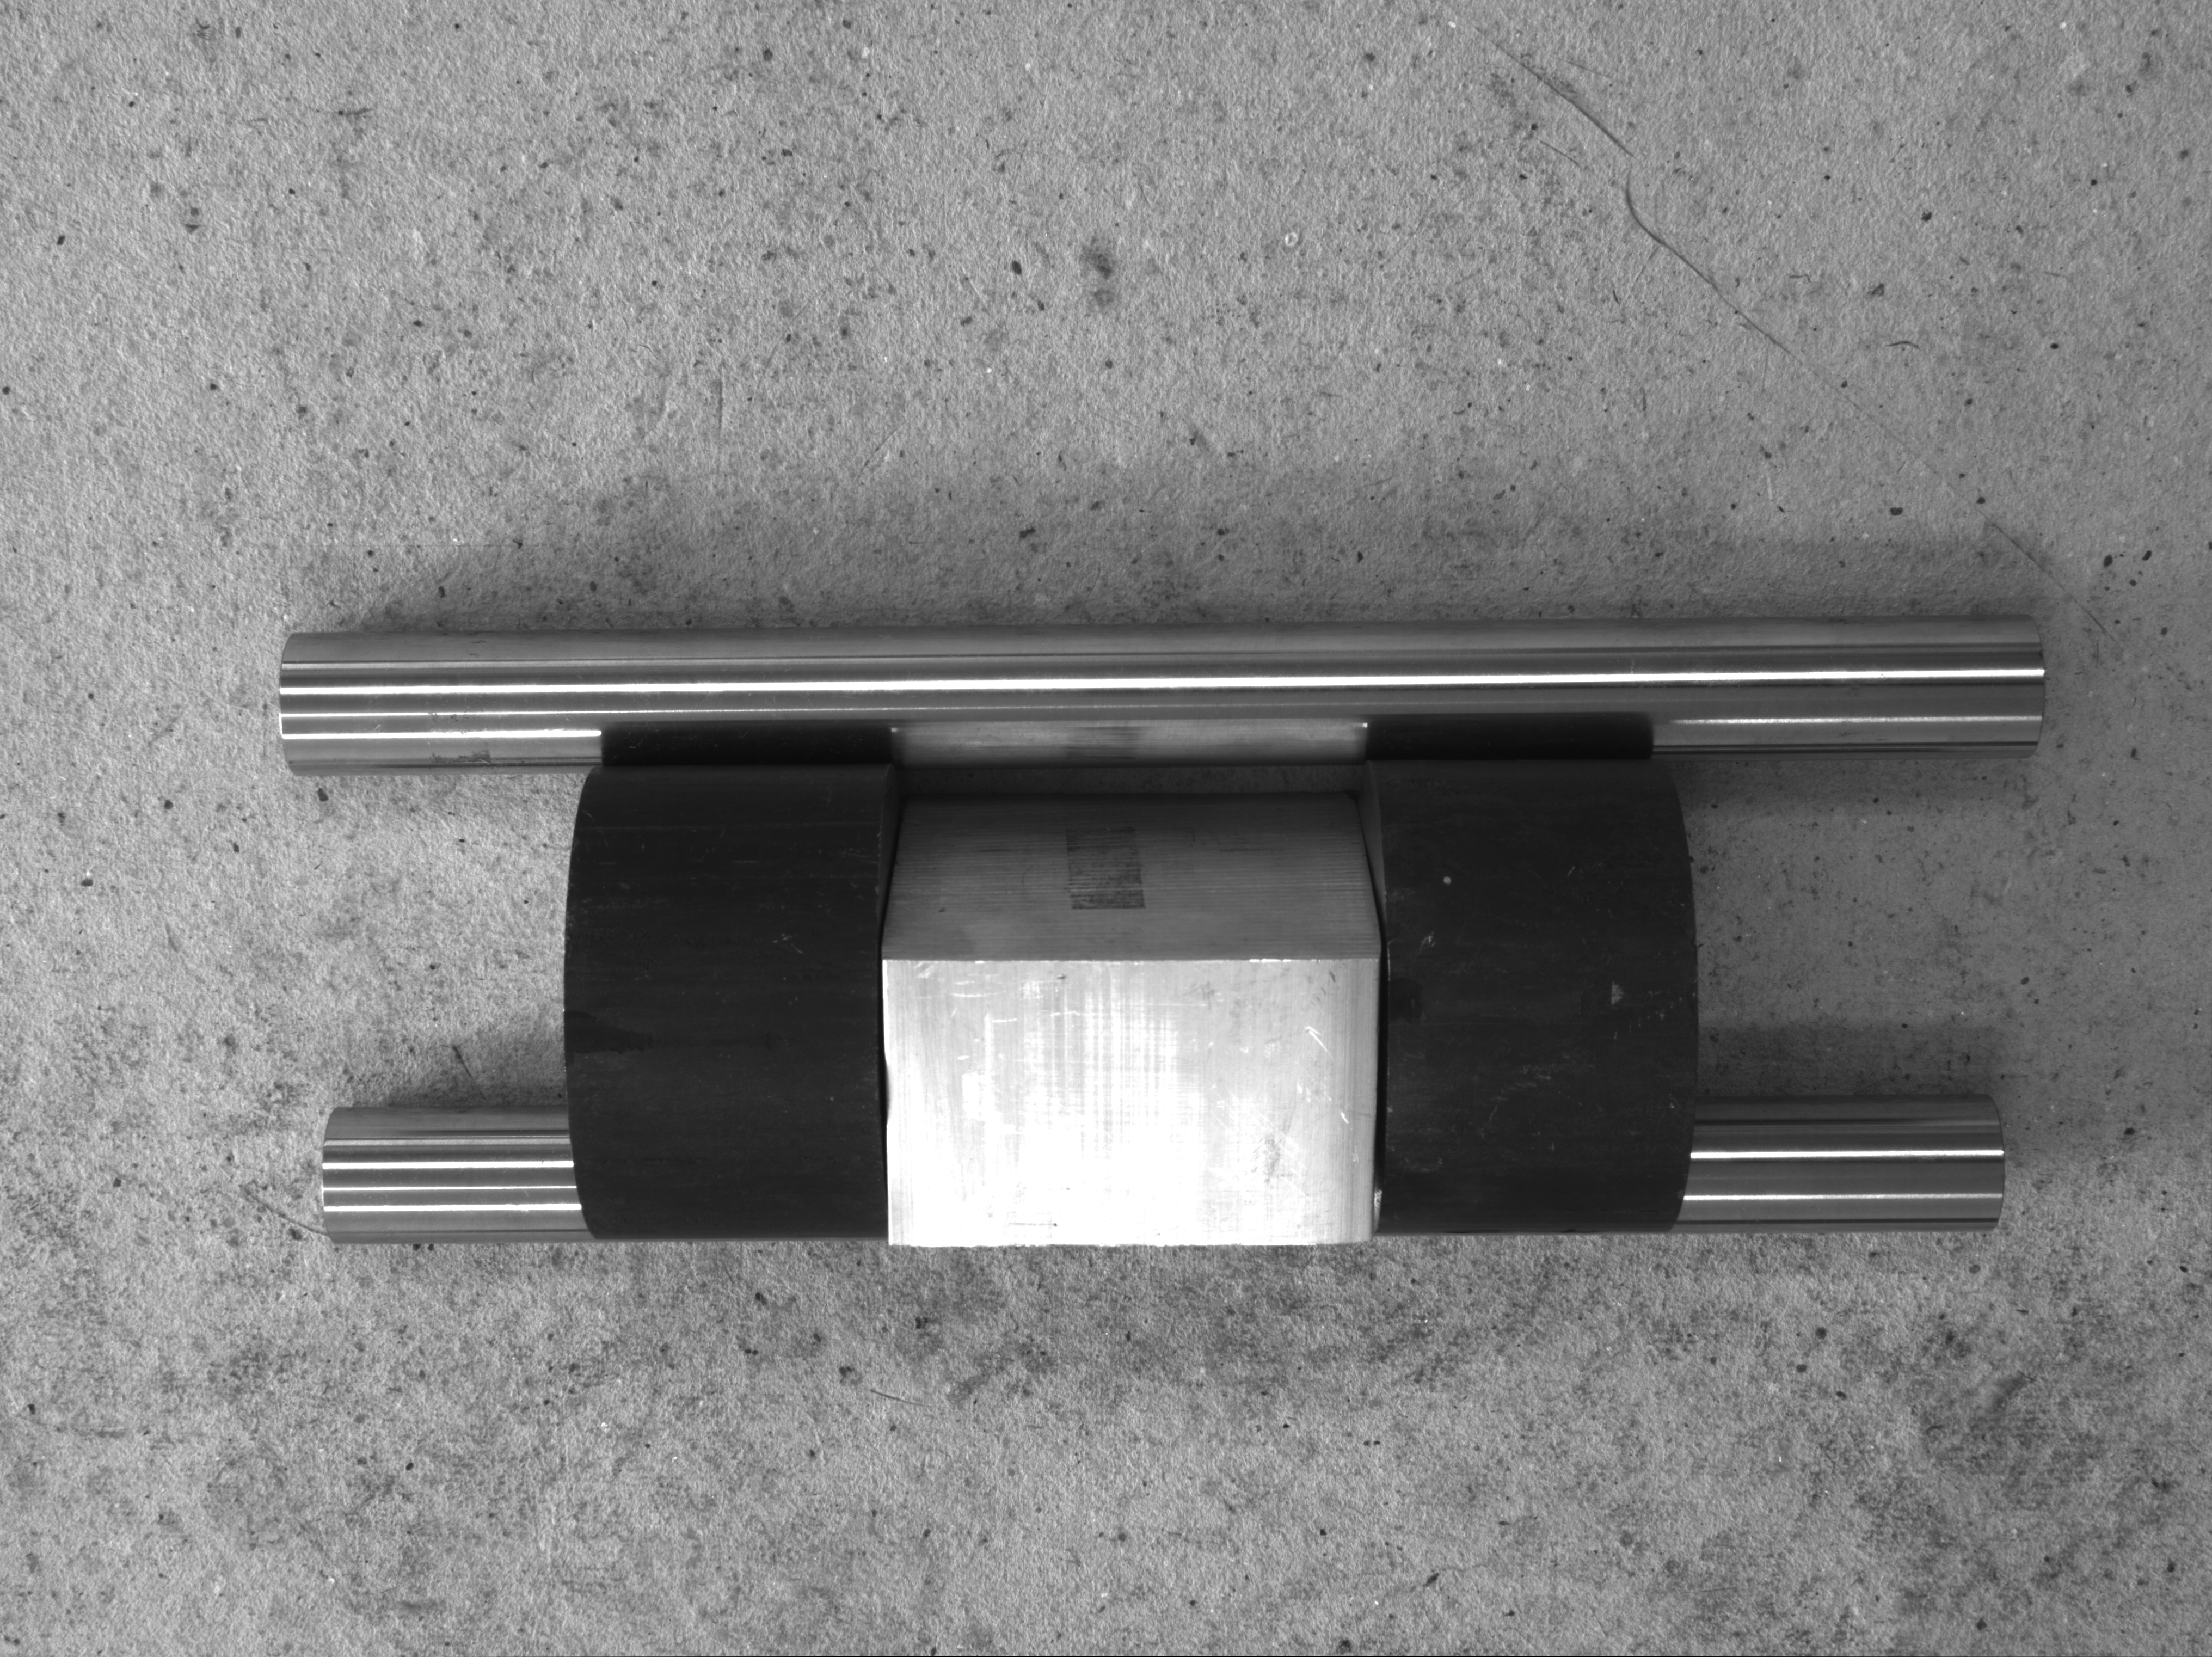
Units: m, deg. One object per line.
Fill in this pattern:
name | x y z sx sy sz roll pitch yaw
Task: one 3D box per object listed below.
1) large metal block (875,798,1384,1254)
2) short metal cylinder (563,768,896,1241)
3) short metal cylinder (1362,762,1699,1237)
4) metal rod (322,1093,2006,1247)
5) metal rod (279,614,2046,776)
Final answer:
large metal block | 0.004 0.032 0.624 0.080 0.080 0.050 0 110 0
short metal cylinder | -0.061 0.030 0.625 0.050 0.080 0.080 -1 110 0
short metal cylinder | 0.070 0.029 0.625 0.050 0.080 0.080 -1 110 0
metal rod | 0.010 0.062 0.667 0.300 0.025 0.025 -1 110 0
metal rod | 0.010 -0.023 0.636 0.300 0.025 0.025 -1 110 0
